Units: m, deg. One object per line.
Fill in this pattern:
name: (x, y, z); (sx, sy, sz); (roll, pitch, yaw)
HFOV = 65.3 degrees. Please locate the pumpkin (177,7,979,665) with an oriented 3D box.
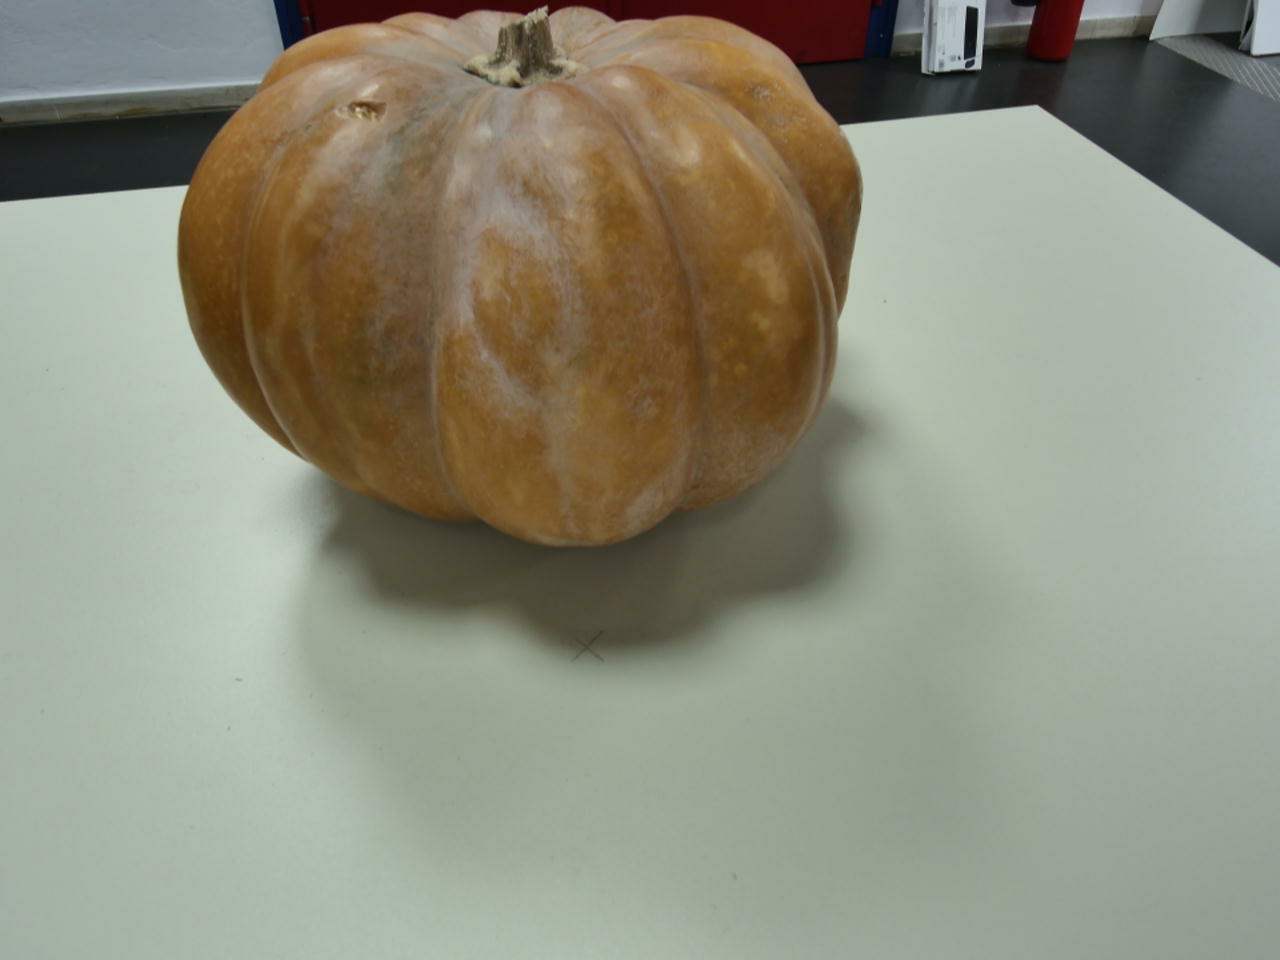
pumpkin: (-0.041, -0.091, 0.405); (0.277, 0.181, 0.277); (0, 39, 0)
